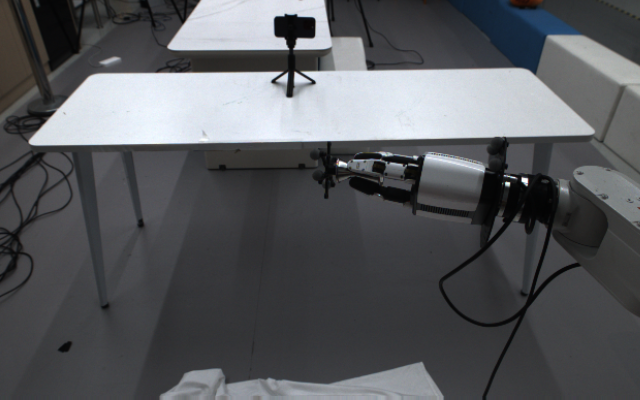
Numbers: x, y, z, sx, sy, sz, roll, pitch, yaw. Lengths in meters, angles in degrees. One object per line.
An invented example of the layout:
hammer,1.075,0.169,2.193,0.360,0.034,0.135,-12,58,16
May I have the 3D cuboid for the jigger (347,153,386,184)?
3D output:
jigger,0.068,-0.049,0.737,0.071,0.043,0.043,2,34,16
